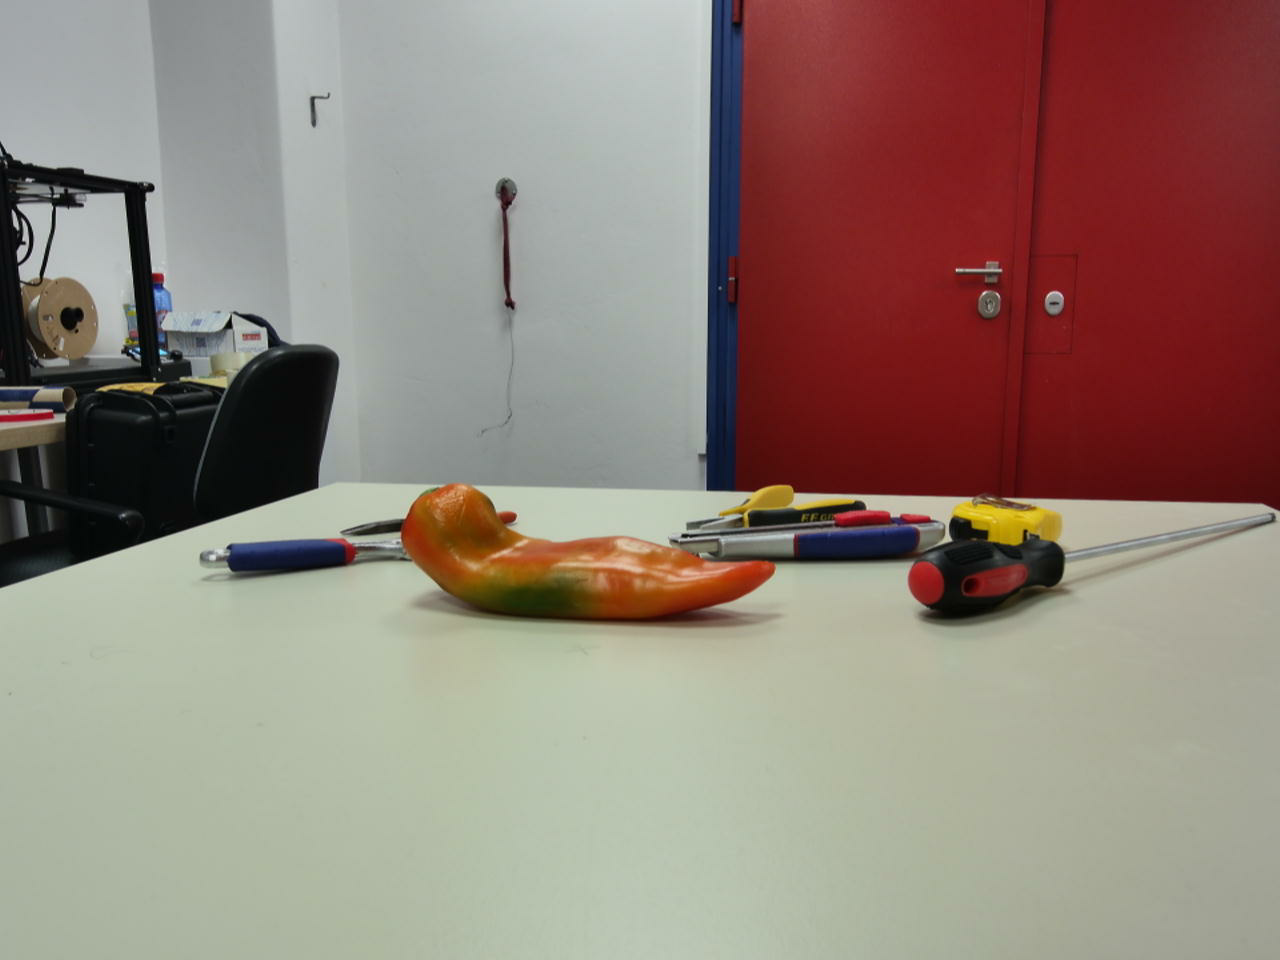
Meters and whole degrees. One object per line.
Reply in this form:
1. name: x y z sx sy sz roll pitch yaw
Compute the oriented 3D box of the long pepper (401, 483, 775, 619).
1. long pepper: -0.031 0.036 0.518 0.199 0.065 0.066 2 7 17
